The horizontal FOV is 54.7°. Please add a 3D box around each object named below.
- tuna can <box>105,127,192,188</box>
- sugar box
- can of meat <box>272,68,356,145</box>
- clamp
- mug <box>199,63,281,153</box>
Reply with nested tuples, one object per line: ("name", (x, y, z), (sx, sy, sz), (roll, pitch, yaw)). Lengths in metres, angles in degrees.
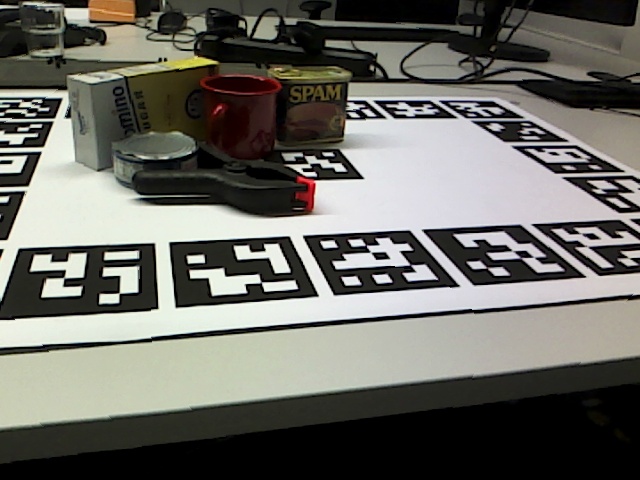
("tuna can", (-0.175, -0.086, 0.638), (0.085, 0.033, 0.086), (4, 31, -3))
("sugar box", (-0.190, -0.149, 0.701), (0.045, 0.093, 0.175), (24, 32, 32))
("can of meat", (-0.012, -0.168, 0.778), (0.101, 0.083, 0.058), (-5, 29, -22))
("clamp", (-0.088, -0.056, 0.611), (0.166, 0.036, 0.121), (19, 27, 15))
("mug", (-0.097, -0.147, 0.708), (0.093, 0.081, 0.117), (11, 31, 8))
